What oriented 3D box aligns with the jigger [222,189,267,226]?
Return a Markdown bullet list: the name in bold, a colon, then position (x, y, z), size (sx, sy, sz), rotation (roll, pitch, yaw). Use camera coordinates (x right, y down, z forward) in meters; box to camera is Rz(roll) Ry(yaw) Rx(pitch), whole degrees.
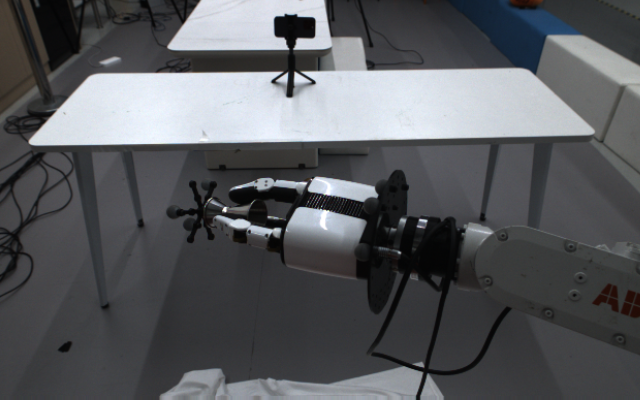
- **jigger**: position (-0.097, 0.012, 0.603), size (0.071, 0.043, 0.043), rotation (3, 32, 25)
